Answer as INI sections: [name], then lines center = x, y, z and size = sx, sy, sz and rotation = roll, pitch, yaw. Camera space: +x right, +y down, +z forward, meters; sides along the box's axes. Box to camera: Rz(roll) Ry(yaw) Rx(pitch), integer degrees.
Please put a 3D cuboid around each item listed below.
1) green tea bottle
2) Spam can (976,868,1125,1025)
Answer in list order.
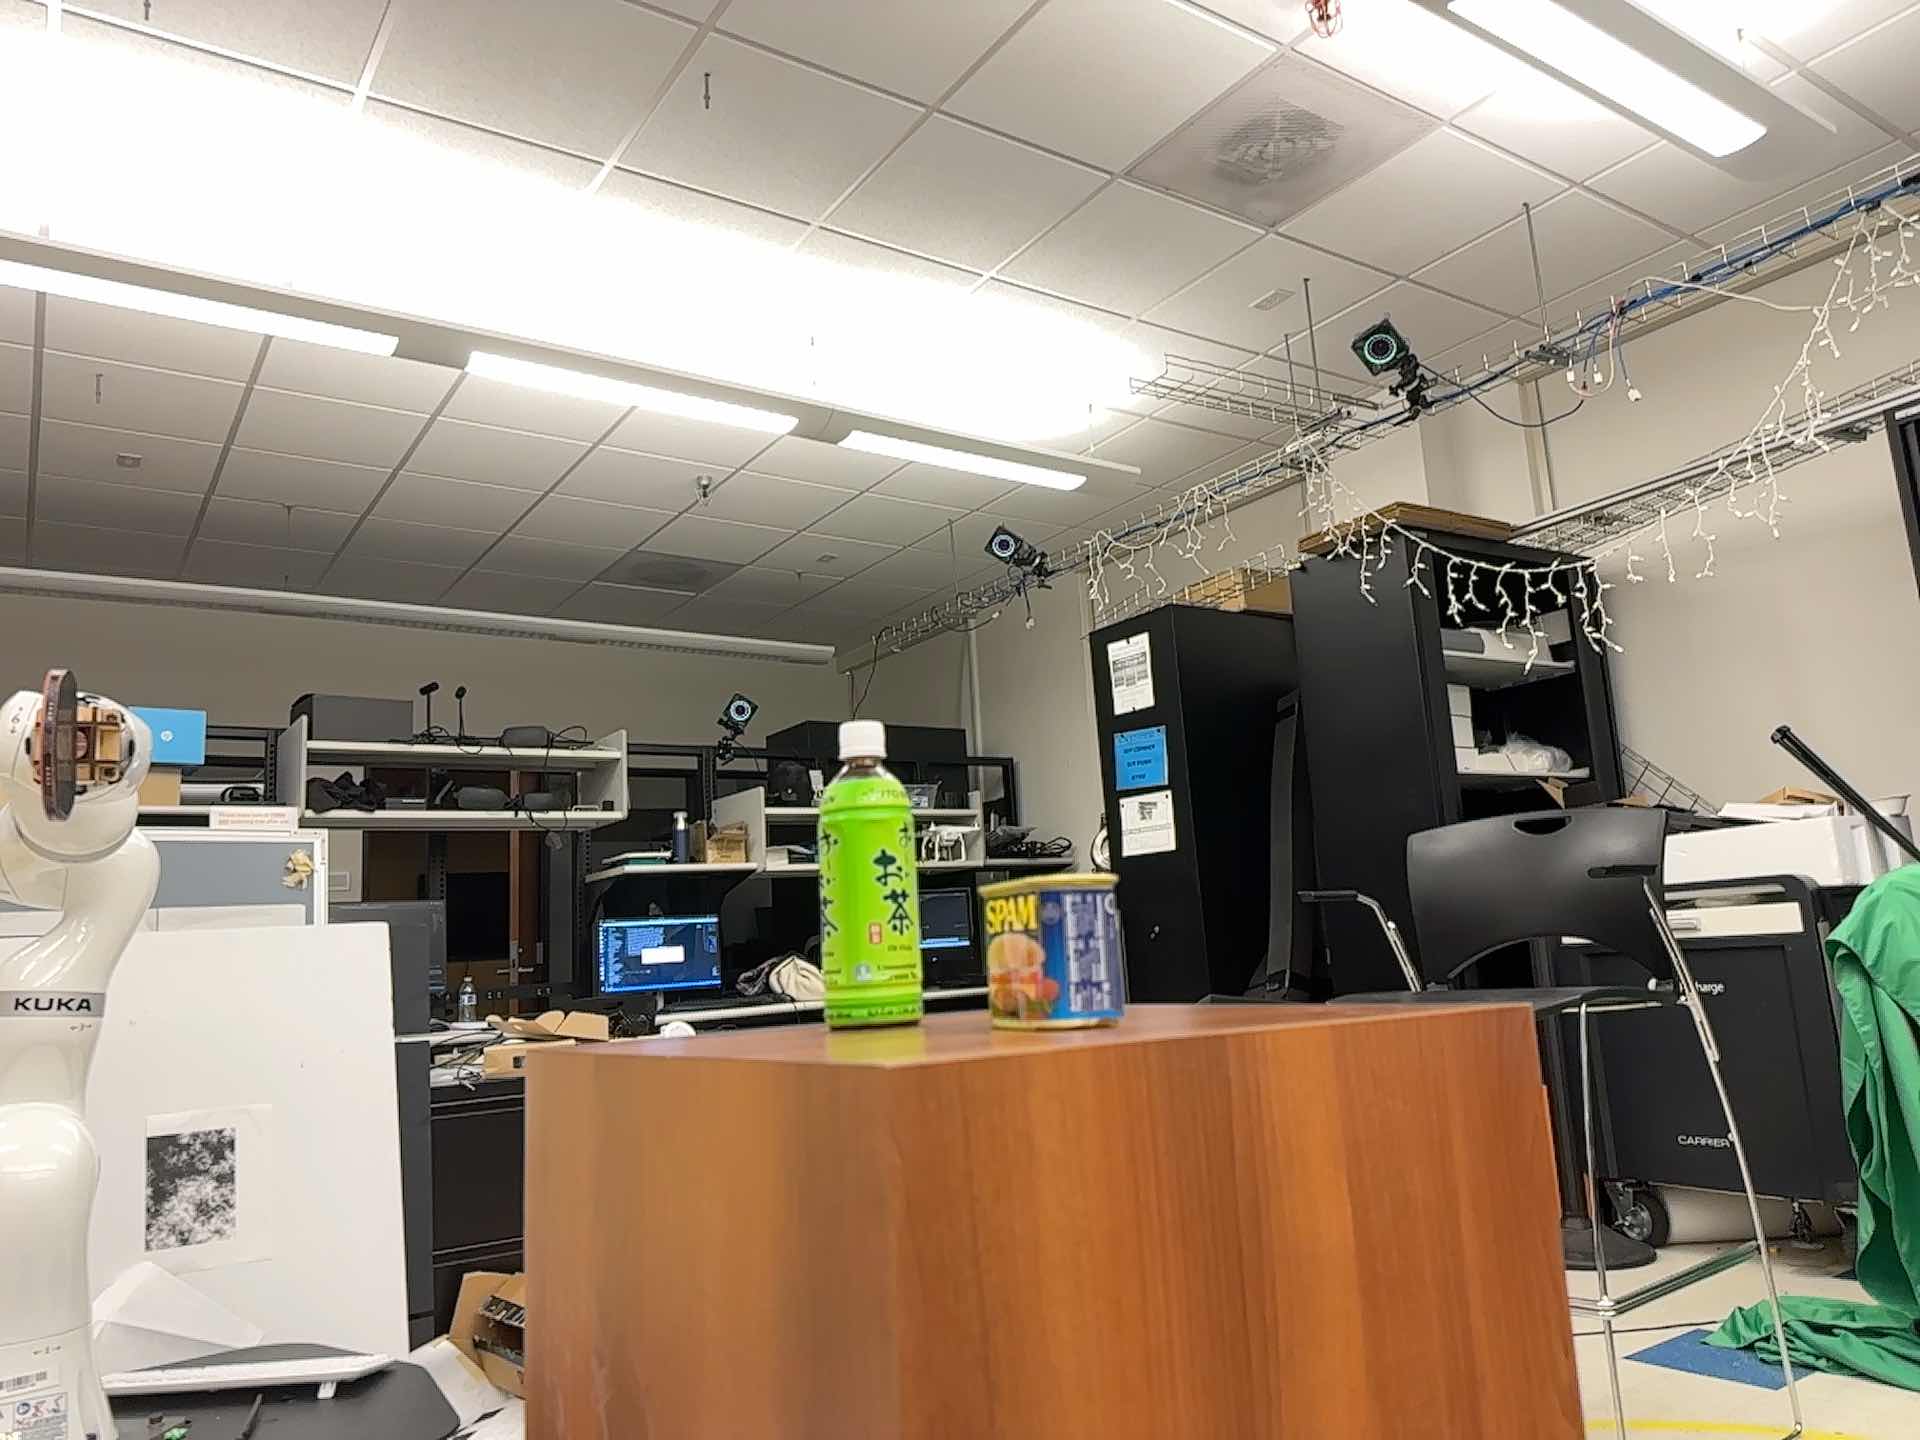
[green tea bottle]
center = -0.064, 0.108, 0.942
size = 0.073, 0.212, 0.073
rotation = -3, -14, -1
[Spam can]
center = 0.053, 0.135, 0.796
size = 0.056, 0.083, 0.100
rotation = 3, -13, -25
